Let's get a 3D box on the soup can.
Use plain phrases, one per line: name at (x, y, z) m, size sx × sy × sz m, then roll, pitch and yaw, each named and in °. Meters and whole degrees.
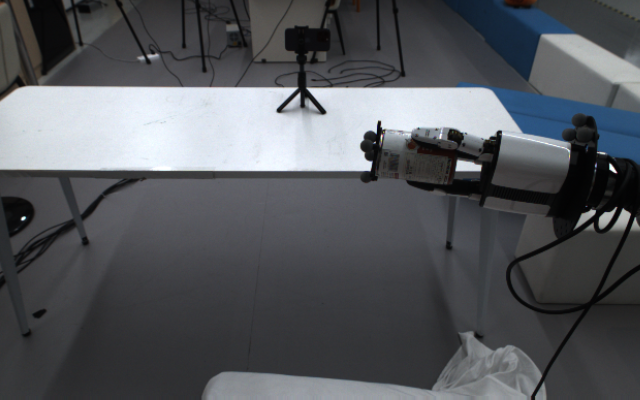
soup can at (0.134, -0.059, 0.661) m, size 0.101 × 0.067 × 0.067 m, roll 8°, pitch 35°, yaw 9°
